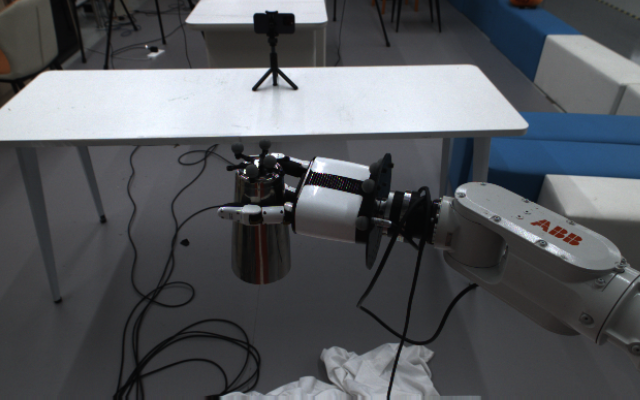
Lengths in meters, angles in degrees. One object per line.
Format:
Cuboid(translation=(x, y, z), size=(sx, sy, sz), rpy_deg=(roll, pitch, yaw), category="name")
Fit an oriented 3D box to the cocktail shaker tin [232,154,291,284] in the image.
Cuboid(translation=(-0.085, 0.026, 0.708), size=(0.093, 0.170, 0.093), rpy_deg=(2, 33, -2), category="cocktail shaker tin")
